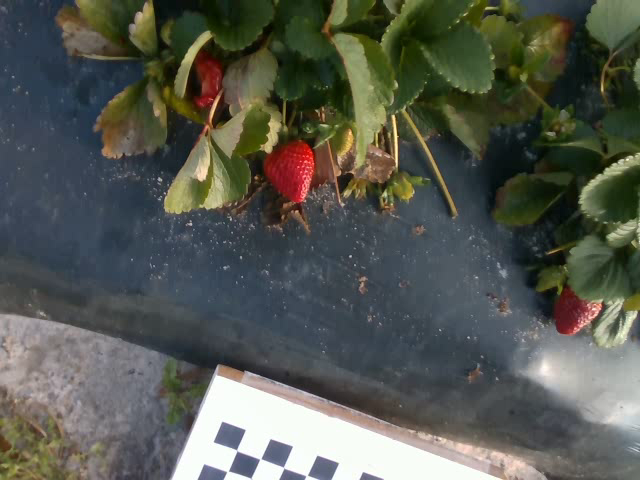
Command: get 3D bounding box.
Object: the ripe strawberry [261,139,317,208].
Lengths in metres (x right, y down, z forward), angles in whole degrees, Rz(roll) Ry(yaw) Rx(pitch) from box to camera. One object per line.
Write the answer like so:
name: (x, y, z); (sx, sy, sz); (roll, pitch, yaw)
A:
ripe strawberry: (-0.016, -0.032, 0.294); (0.032, 0.030, 0.025); (-14, -4, 0)

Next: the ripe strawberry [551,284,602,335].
ripe strawberry: (0.140, 0.041, 0.330); (0.029, 0.036, 0.021); (25, 5, -5)
